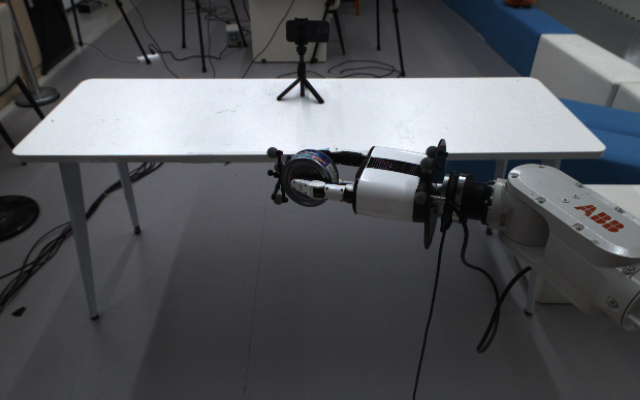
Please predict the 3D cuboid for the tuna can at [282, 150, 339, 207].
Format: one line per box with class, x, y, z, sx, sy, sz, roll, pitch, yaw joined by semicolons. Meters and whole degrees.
tuna can;-0.015;-0.036;0.750;0.085;0.085;0.034;12;28;14
